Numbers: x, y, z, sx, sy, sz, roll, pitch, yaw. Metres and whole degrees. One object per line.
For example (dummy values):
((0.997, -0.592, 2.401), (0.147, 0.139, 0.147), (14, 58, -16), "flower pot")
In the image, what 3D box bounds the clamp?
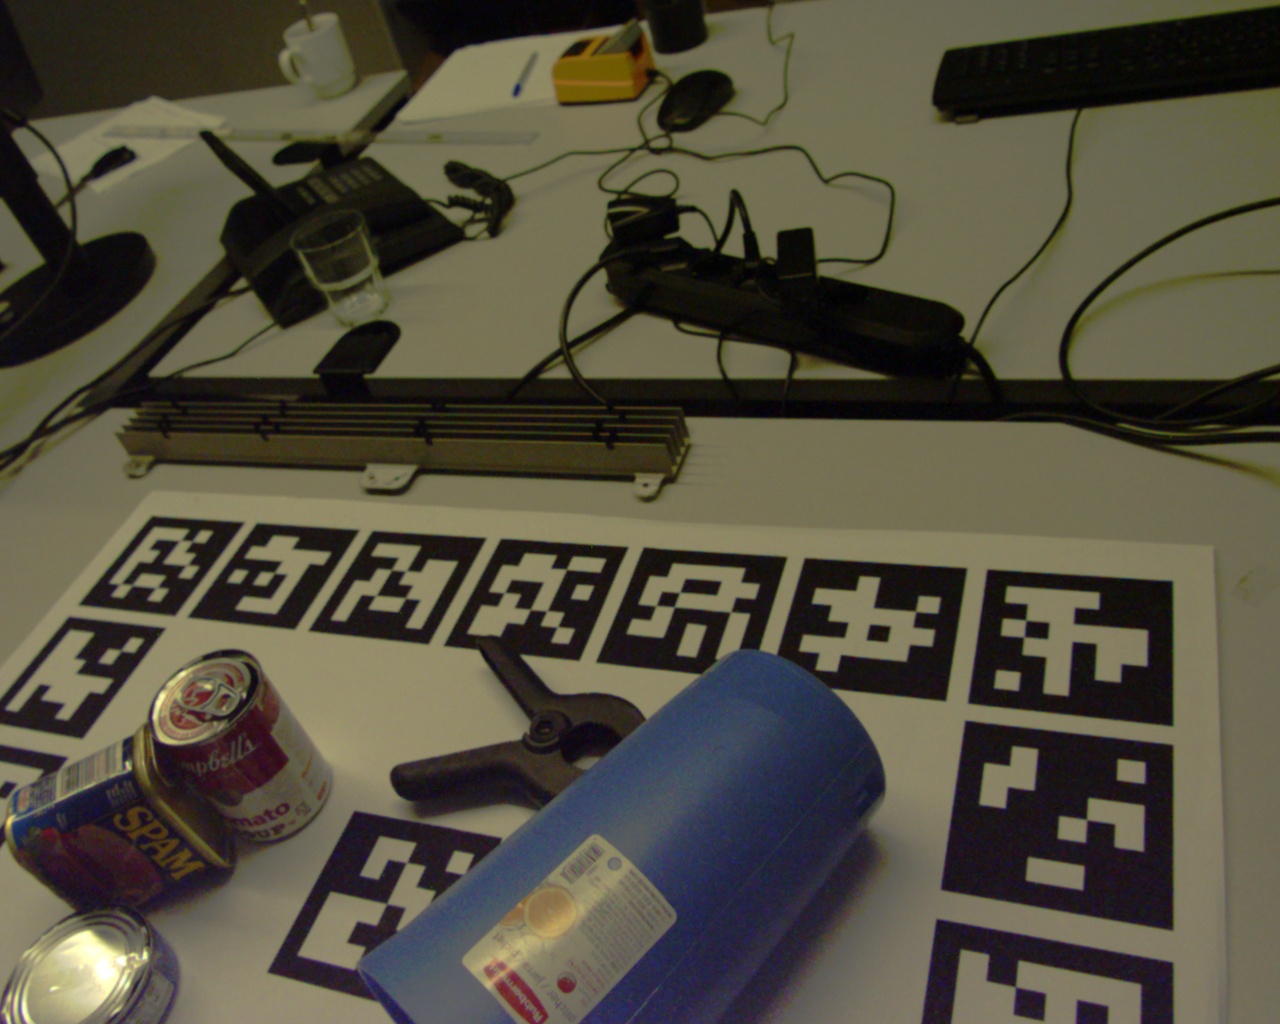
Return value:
((-0.068, 0.141, 0.719), (0.167, 0.036, 0.121), (6, 43, 22), "clamp")

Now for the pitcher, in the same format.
((-0.010, 0.179, 0.563), (0.240, 0.132, 0.191), (-39, 22, -31), "pitcher")

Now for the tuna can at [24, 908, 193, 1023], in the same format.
((-0.302, 0.274, 0.651), (0.086, 0.033, 0.086), (-11, 43, 10), "tuna can")

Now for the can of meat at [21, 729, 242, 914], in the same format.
((-0.305, 0.191, 0.687), (0.083, 0.101, 0.058), (-25, 42, -2), "can of meat")

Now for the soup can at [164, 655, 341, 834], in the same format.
((-0.240, 0.148, 0.716), (0.068, 0.101, 0.068), (-13, 42, 11), "soup can")
